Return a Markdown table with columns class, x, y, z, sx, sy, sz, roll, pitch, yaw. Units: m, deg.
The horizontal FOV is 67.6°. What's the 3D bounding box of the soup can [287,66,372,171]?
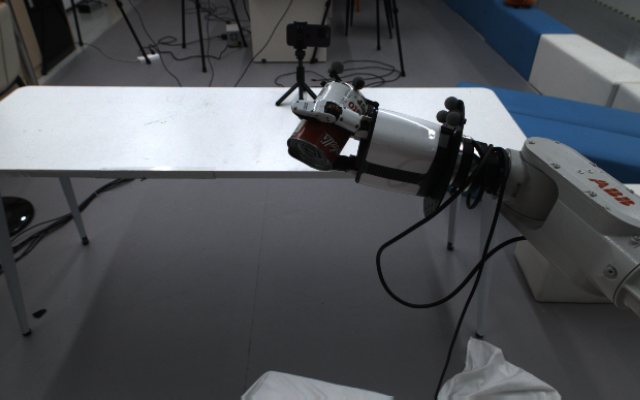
| class | x | y | z | sx | sy | sz | roll | pitch | yaw |
| --- | --- | --- | --- | --- | --- | --- | --- | --- | --- |
| soup can | 0.012 | -0.099 | 0.639 | 0.067 | 0.067 | 0.101 | 22 | 71 | 27 |
